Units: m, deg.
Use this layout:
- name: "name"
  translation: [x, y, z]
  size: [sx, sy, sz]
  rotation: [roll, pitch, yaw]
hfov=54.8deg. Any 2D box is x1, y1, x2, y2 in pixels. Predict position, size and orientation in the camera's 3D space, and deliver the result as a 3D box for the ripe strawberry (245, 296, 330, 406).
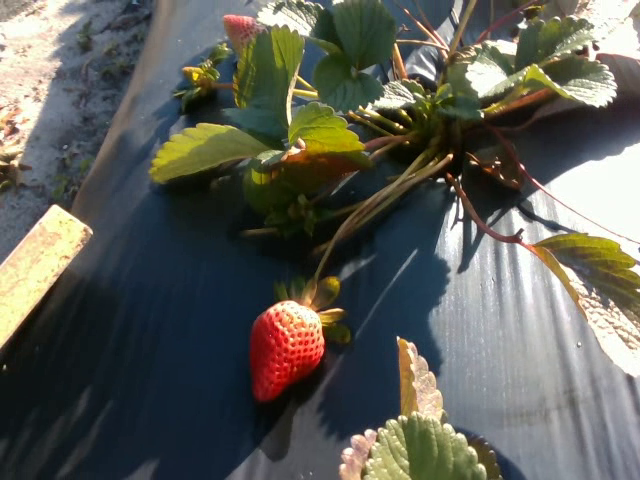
- name: "ripe strawberry"
  translation: [-0.019, 0.053, 0.281]
  size: [0.043, 0.064, 0.044]
  rotation: [37, -45, -20]
